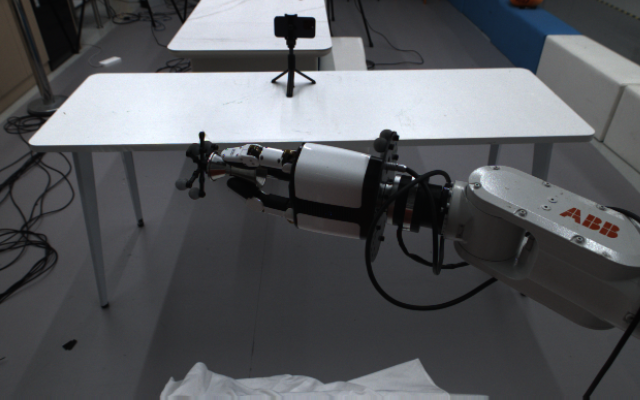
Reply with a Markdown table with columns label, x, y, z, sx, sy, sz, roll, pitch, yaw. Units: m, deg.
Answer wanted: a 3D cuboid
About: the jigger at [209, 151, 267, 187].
| label | x | y | z | sx | sy | sz | roll | pitch | yaw |
| --- | --- | --- | --- | --- | --- | --- | --- | --- | --- |
| jigger | -0.102 | -0.044 | 0.633 | 0.071 | 0.043 | 0.043 | 7 | 35 | 12 |
